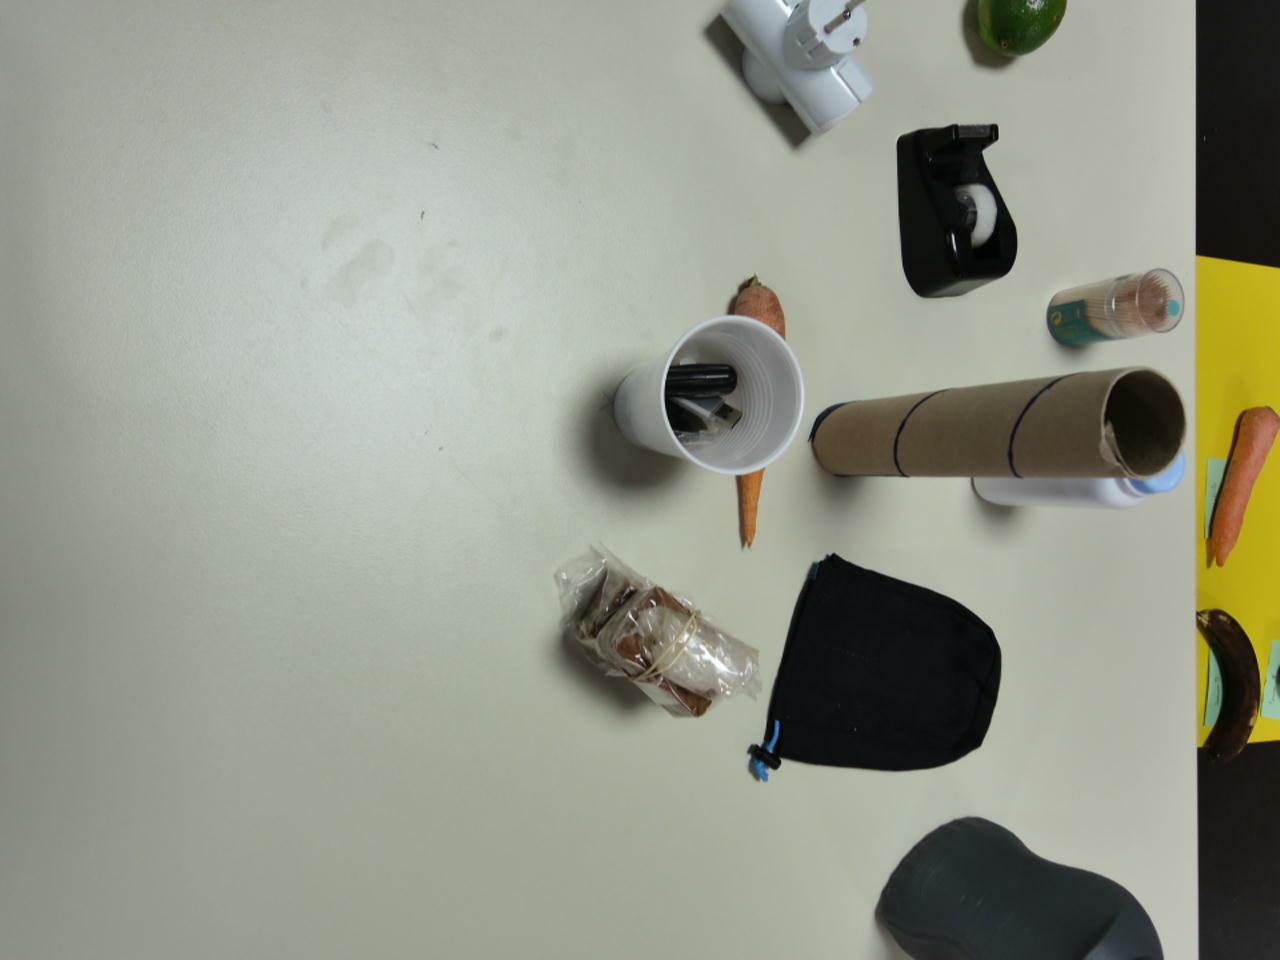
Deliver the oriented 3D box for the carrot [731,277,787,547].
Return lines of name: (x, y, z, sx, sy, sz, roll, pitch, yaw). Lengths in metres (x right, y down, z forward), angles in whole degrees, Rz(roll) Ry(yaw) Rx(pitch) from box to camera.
carrot: (0.072, -0.041, 0.602, 0.031, 0.029, 0.163, 0, 91, -22)
